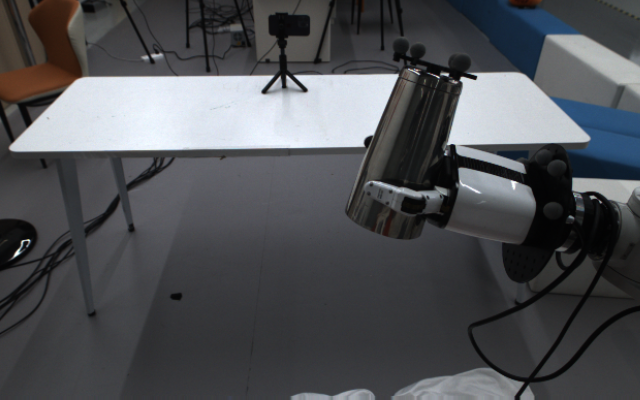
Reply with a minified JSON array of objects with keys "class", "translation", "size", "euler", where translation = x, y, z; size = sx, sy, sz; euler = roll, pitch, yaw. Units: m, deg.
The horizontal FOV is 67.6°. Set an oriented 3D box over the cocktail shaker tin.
[{"class":"cocktail shaker tin","translation":[0.096,-0.053,0.532],"size":[0.093,0.170,0.093],"euler":[14,20,-5]}]
